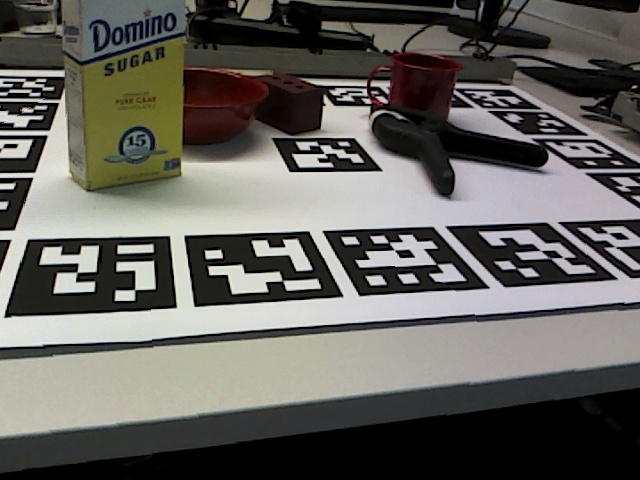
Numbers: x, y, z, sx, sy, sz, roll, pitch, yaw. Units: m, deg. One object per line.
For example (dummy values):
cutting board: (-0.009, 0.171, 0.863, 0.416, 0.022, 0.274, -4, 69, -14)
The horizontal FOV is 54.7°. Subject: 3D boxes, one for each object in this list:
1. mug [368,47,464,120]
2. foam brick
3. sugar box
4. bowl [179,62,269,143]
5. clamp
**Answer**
mug: (0.121, -0.204, 0.817, 0.117, 0.081, 0.093, 14, 32, 4)
foam brick: (-0.037, -0.165, 0.762, 0.052, 0.051, 0.078, -21, 43, -37)
sugar box: (-0.170, -0.131, 0.545, 0.092, 0.176, 0.045, -17, 42, -38)
bowl: (-0.141, -0.153, 0.704, 0.161, 0.055, 0.162, 6, 31, -4)
clamp: (0.121, -0.119, 0.714, 0.164, 0.036, 0.204, -19, 41, -34)
